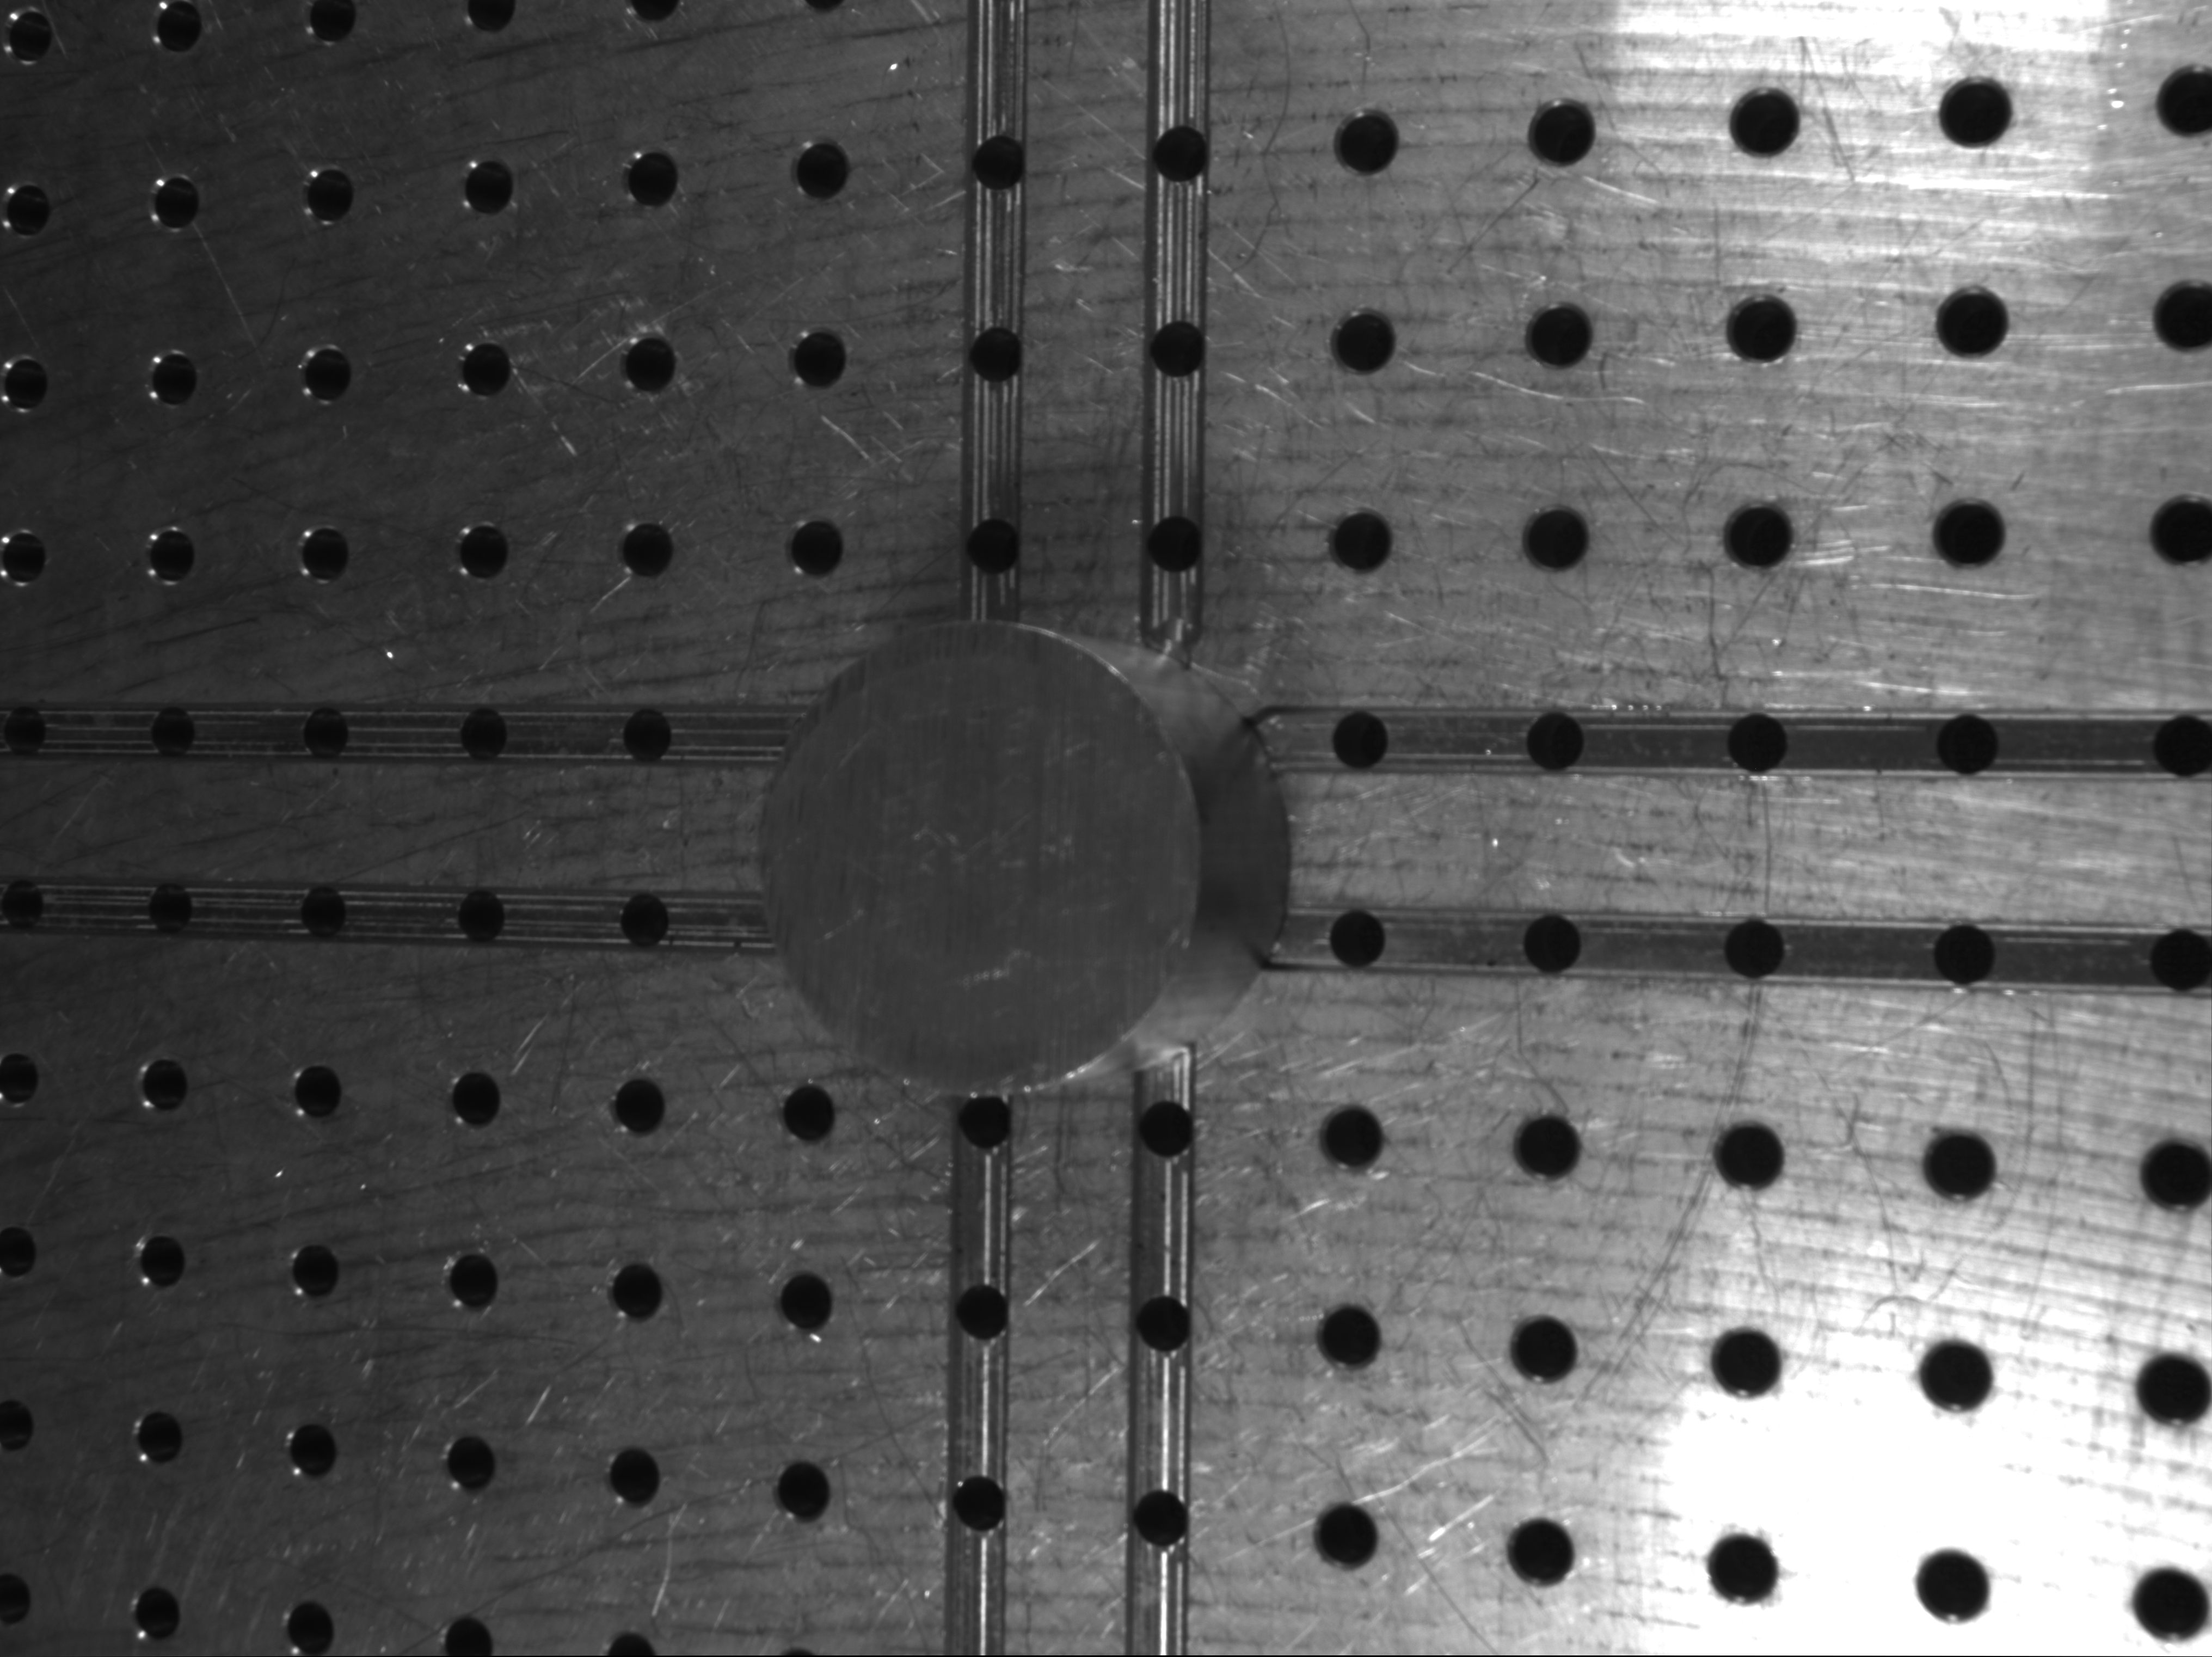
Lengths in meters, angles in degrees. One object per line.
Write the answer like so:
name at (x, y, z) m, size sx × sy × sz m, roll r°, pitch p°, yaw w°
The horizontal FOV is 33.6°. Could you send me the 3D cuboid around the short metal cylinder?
short metal cylinder at (-0.013, 0.005, 0.638) m, size 0.080 × 0.050 × 0.080 m, roll 0°, pitch 90°, yaw 20°
